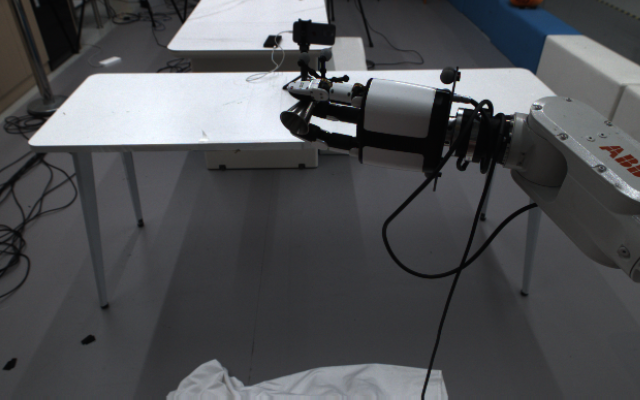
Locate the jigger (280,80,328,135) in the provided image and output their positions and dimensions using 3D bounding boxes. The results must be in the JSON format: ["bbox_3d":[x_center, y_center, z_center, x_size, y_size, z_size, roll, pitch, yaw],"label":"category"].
[{"bbox_3d":[-0.020,-0.132,0.655,0.043,0.043,0.071,19,61,23],"label":"jigger"}]
